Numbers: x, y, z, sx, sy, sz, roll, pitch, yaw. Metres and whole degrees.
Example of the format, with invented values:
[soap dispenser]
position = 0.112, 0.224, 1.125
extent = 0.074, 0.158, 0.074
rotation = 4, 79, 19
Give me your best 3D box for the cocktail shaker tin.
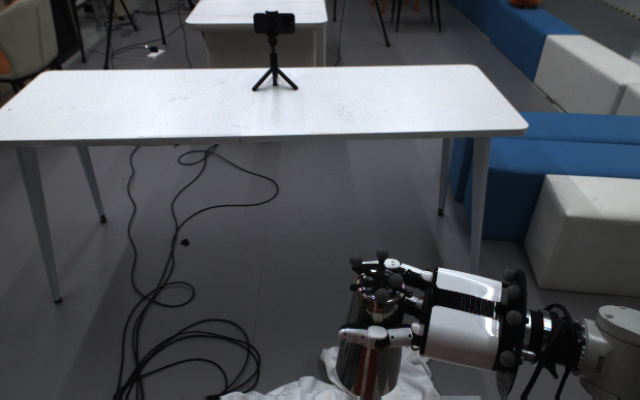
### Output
[cocktail shaker tin]
position = 0.076, 0.176, 0.667
extent = 0.093, 0.170, 0.093
rotation = 2, 33, -2
